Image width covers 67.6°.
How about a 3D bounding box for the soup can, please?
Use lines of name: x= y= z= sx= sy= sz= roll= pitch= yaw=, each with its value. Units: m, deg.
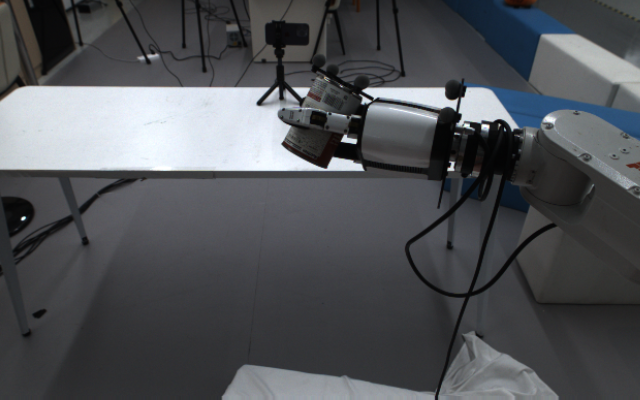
soup can: x=0.003 y=-0.100 z=0.627 sx=0.067 sy=0.101 sz=0.067 roll=27 pitch=10 yaw=-5
